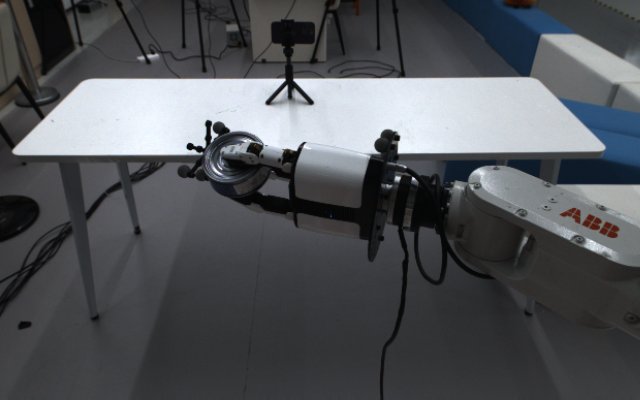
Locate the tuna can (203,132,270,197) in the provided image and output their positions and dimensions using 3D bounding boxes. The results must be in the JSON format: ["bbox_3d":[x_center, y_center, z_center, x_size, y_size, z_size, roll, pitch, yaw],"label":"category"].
[{"bbox_3d":[-0.107,-0.048,0.632,0.085,0.034,0.085,-3,59,6],"label":"tuna can"}]
